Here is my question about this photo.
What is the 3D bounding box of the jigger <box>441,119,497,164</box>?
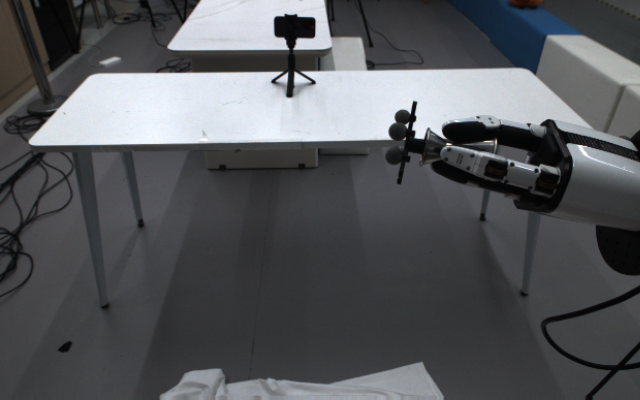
[{"bbox_3d":[0.147,-0.053,0.498,0.071,0.043,0.043,10,35,8],"label":"jigger"}]
